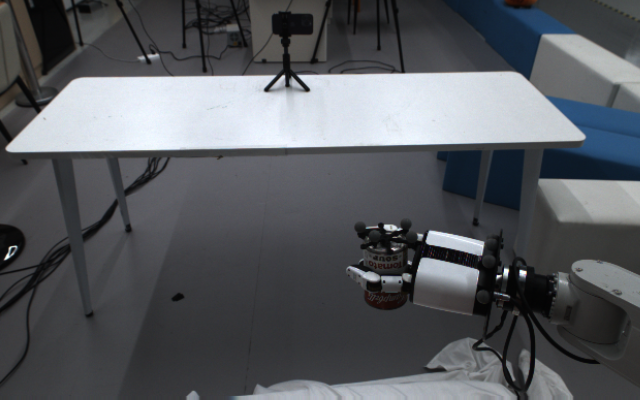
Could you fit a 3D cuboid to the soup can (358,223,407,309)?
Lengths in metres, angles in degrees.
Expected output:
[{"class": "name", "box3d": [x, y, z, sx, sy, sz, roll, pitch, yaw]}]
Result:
[{"class": "soup can", "box3d": [0.100, 0.105, 0.734, 0.067, 0.101, 0.067, -3, 26, 2]}]
